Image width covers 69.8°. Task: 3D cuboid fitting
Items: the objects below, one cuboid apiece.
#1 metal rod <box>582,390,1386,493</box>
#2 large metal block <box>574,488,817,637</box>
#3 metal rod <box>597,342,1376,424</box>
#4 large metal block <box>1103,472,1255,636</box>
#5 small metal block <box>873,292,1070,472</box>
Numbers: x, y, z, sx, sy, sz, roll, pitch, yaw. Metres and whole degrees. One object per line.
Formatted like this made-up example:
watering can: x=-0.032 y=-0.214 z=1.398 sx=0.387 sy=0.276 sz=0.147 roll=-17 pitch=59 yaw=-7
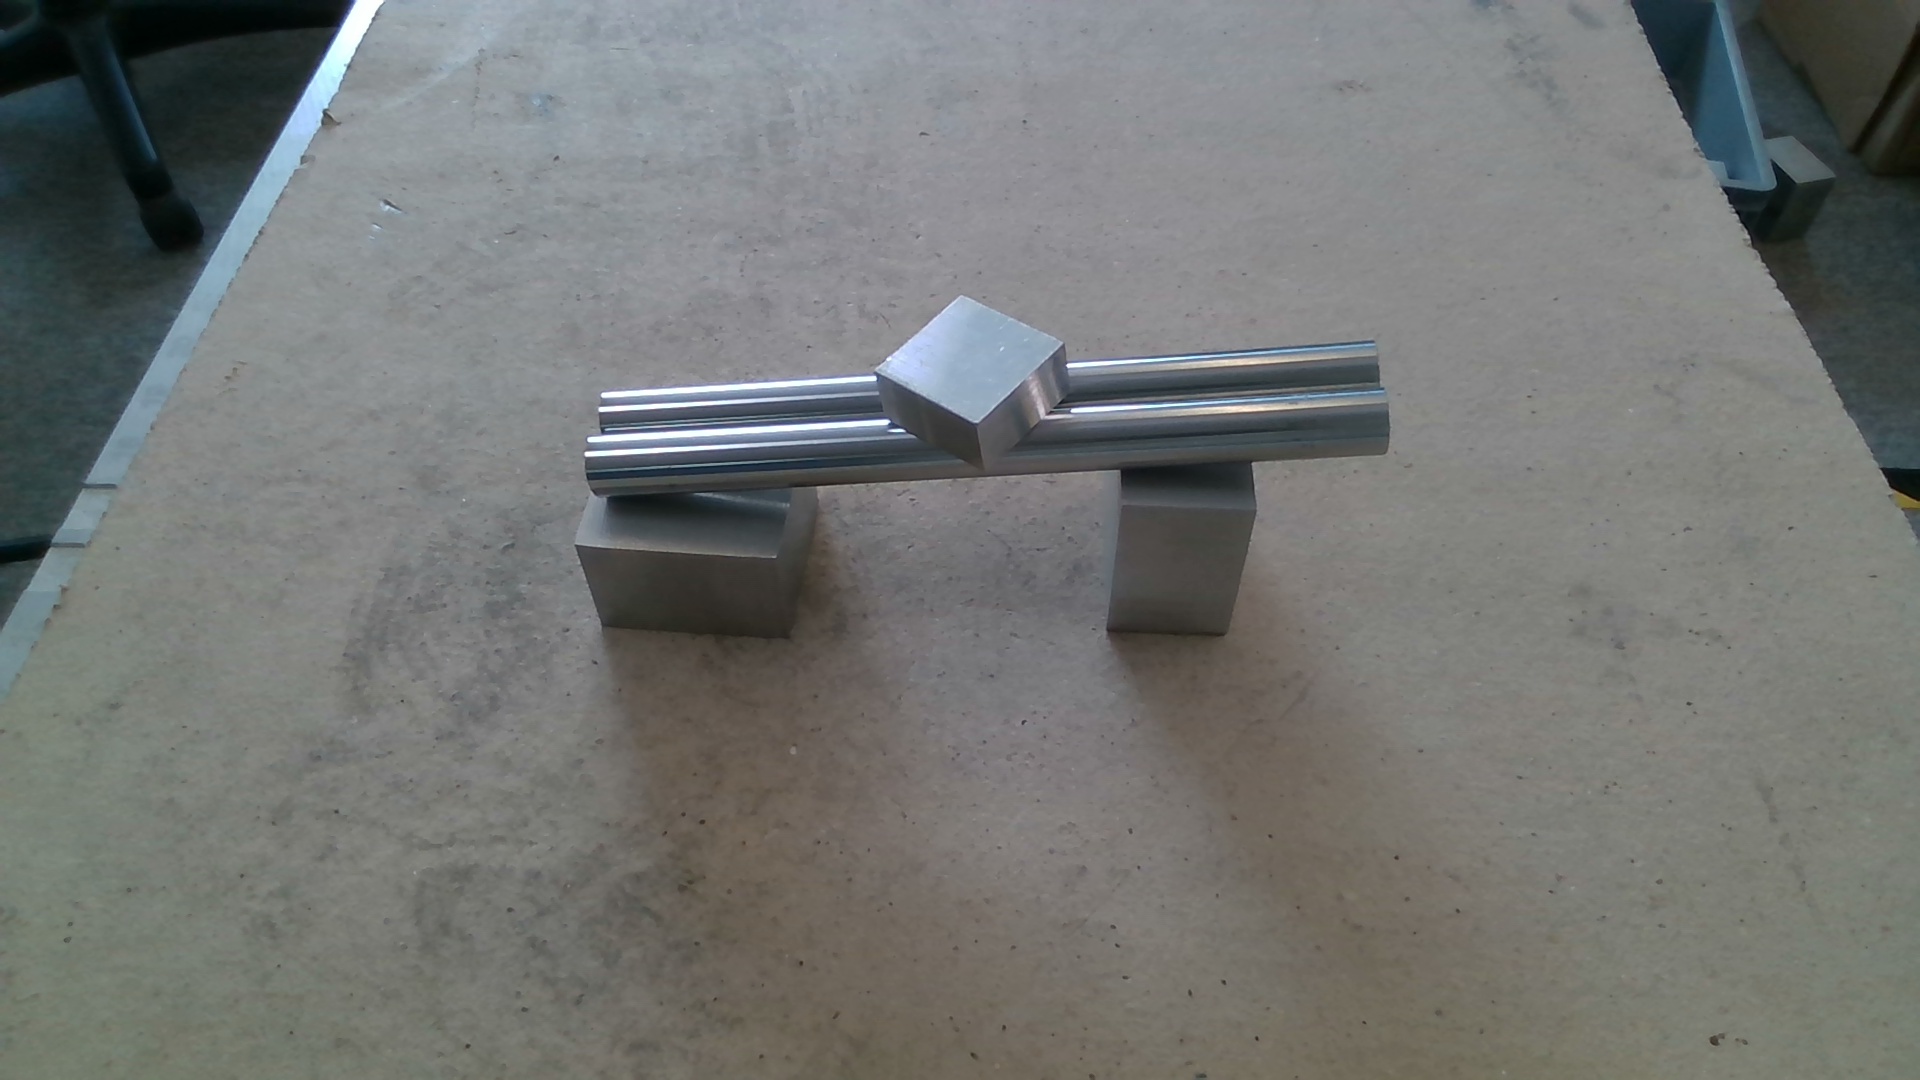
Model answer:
metal rod: x=0.005 y=-0.036 z=0.523 sx=0.300 sy=0.025 sz=0.025 roll=-2 pitch=50 yaw=7
large metal block: x=-0.107 y=-0.009 z=0.578 sx=0.080 sy=0.050 sz=0.080 roll=4 pitch=50 yaw=3
metal rod: x=0.006 y=-0.056 z=0.539 sx=0.300 sy=0.025 sz=0.025 roll=-2 pitch=50 yaw=7
large metal block: x=0.087 y=-0.018 z=0.567 sx=0.050 sy=0.080 sz=0.080 roll=2 pitch=50 yaw=2
small metal block: x=0.005 y=-0.059 z=0.510 sx=0.050 sy=0.025 sz=0.050 roll=31 pitch=62 yaw=30
